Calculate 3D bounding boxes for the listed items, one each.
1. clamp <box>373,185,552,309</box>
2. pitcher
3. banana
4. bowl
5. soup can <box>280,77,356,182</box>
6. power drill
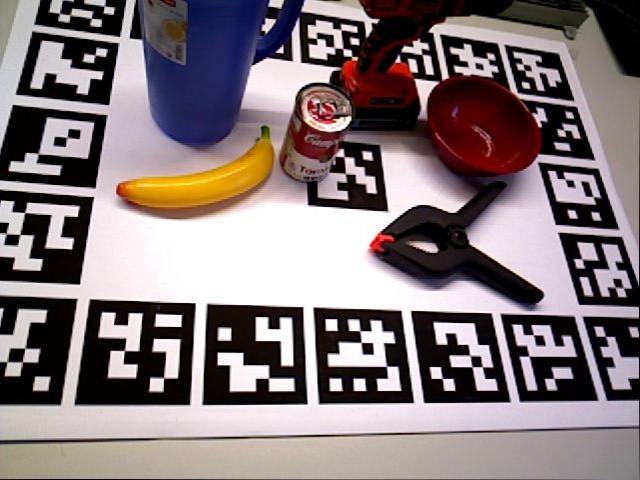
[{"bbox_3d":[0.160,0.001,0.622,0.200,0.037,0.164,0,68,-15],"label":"clamp"},{"bbox_3d":[-0.108,-0.218,0.549,0.185,0.248,0.133,-21,67,-24],"label":"pitcher"},{"bbox_3d":[-0.128,-0.069,0.591,0.193,0.040,0.074,-22,63,-25],"label":"banana"},{"bbox_3d":[0.205,-0.138,0.701,0.160,0.056,0.160,5,64,-12],"label":"bowl"},{"bbox_3d":[-0.005,-0.124,0.613,0.067,0.104,0.067,7,53,-10],"label":"soup can"},{"bbox_3d":[0.116,-0.234,0.627,0.182,0.191,0.057,-2,63,-17],"label":"power drill"}]
